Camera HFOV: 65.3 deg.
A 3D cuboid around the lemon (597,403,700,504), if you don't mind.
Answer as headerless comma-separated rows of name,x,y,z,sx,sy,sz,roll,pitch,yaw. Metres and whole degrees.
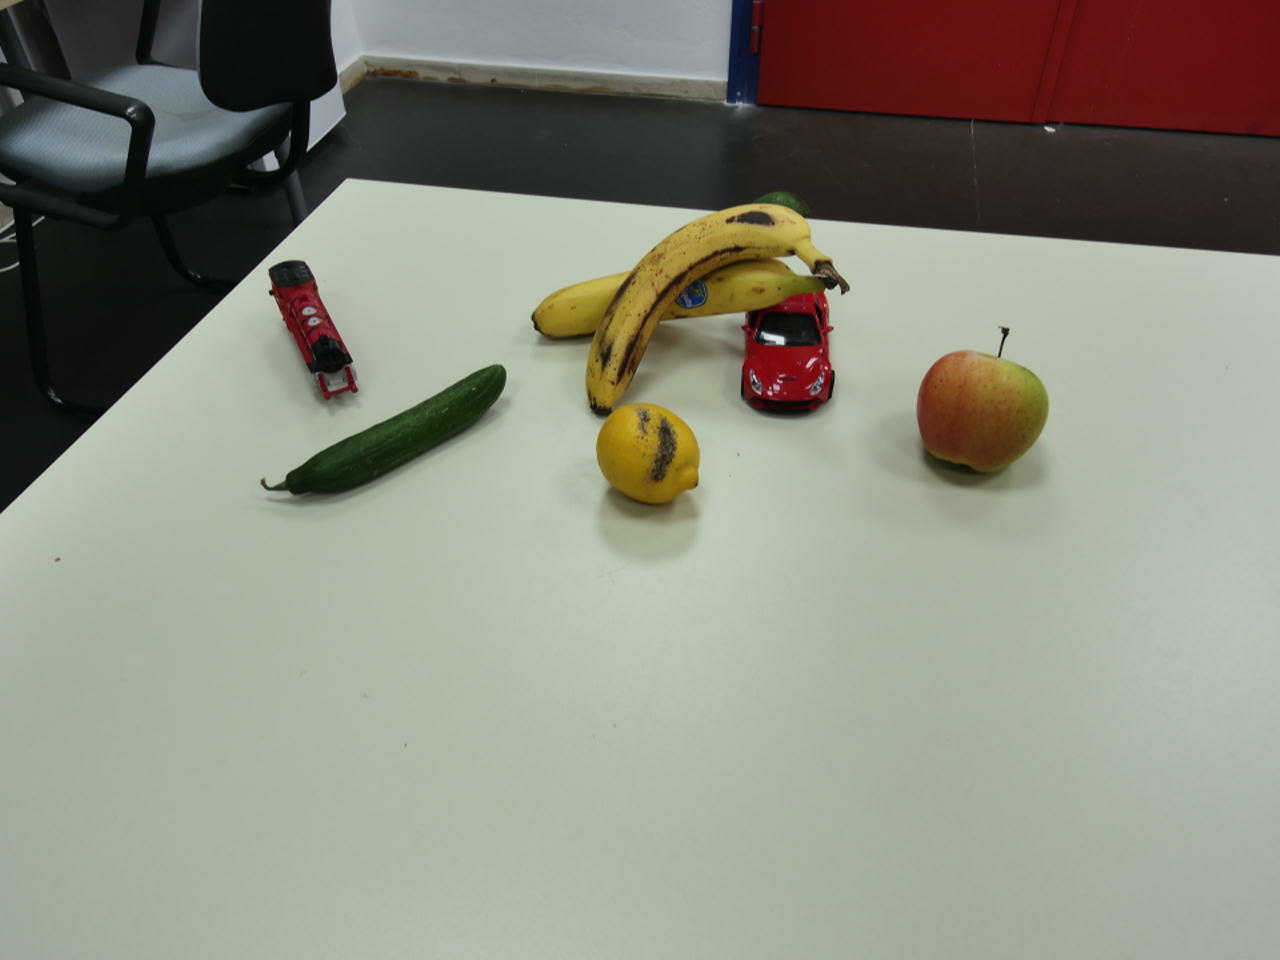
lemon,0.005,-0.016,0.588,0.061,0.056,0.058,4,39,4
